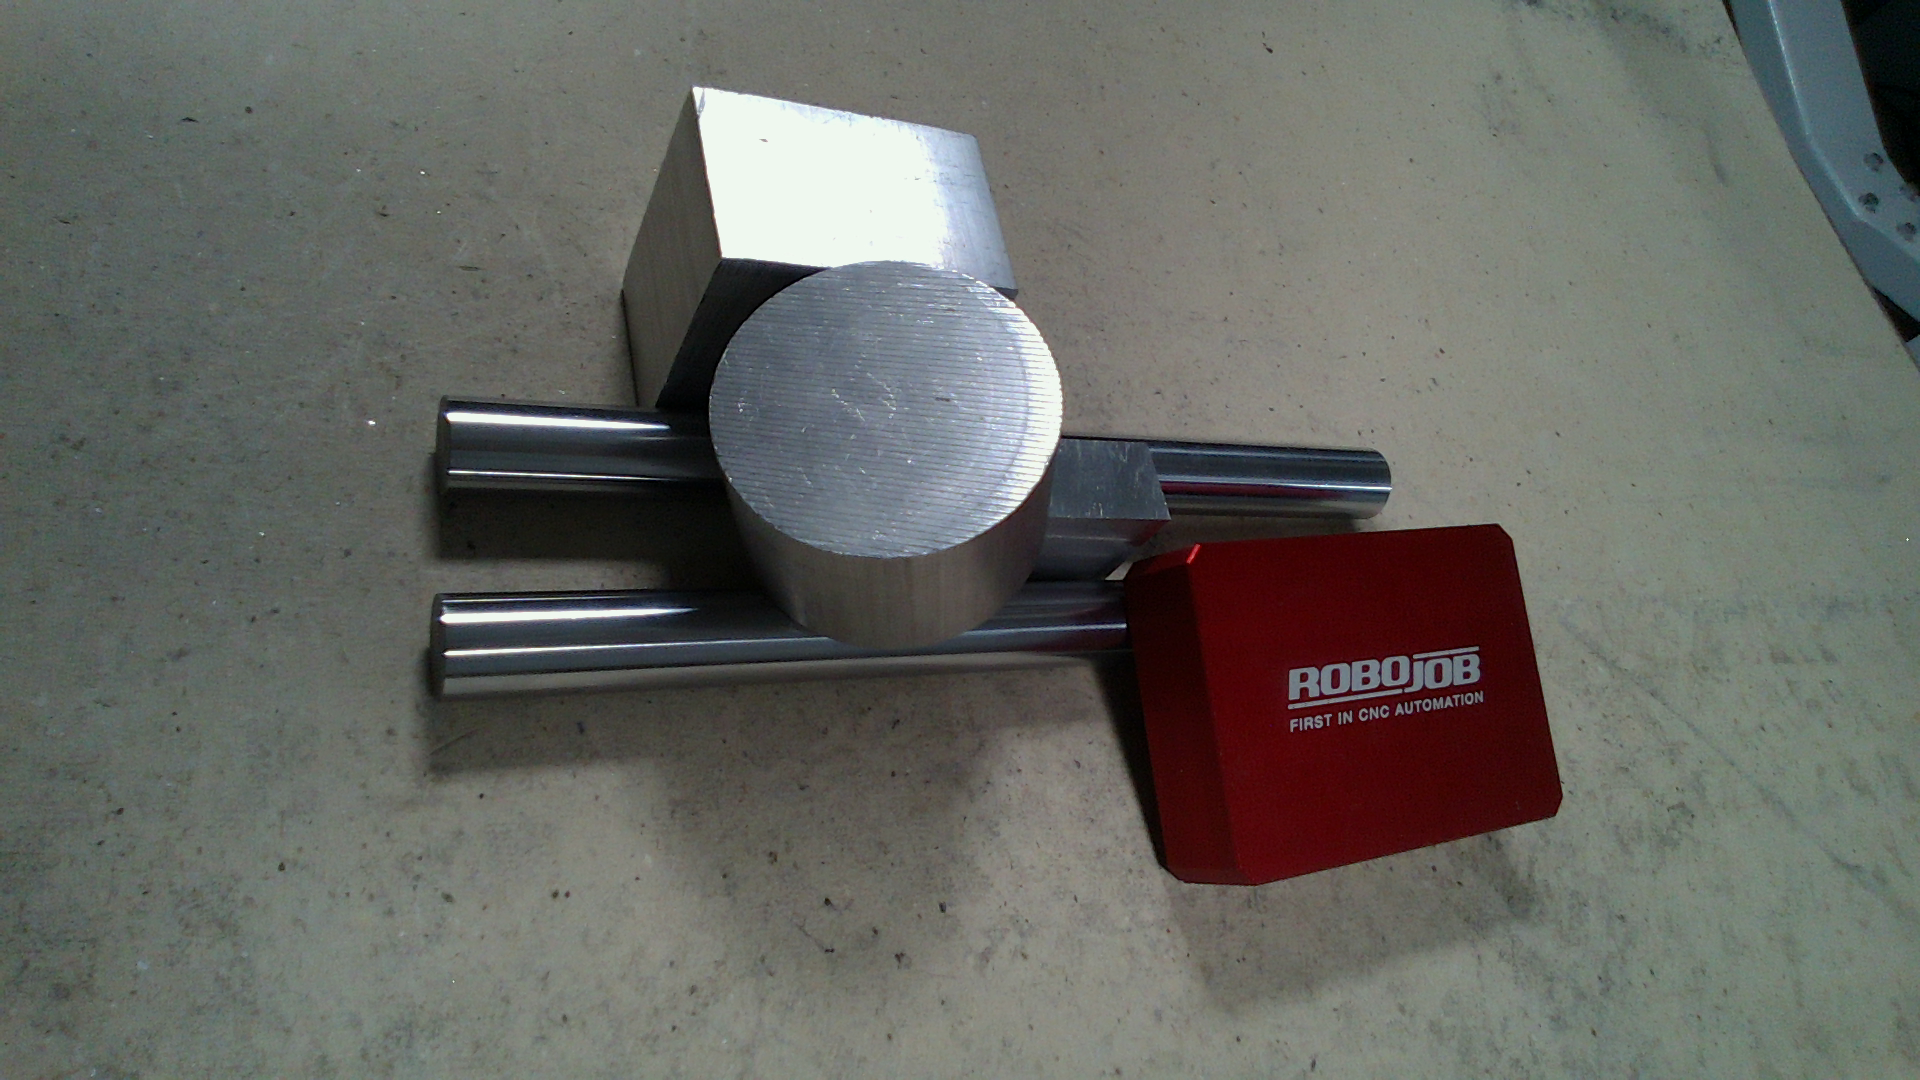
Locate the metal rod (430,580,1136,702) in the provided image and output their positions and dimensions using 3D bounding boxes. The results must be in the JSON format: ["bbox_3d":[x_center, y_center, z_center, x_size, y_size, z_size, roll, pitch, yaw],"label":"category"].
[{"bbox_3d":[0.014,0.024,0.383,0.301,0.025,0.025,0,62,-28],"label":"metal rod"}]

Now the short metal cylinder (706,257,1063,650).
[{"bbox_3d":[-0.017,-0.020,0.331,0.080,0.050,0.080,0,62,-1],"label":"short metal cylinder"}]

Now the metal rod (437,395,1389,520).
[{"bbox_3d":[0.007,-0.021,0.407,0.301,0.025,0.025,1,61,-28],"label":"metal rod"}]

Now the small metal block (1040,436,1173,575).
[{"bbox_3d":[0.023,-0.005,0.389,0.050,0.050,0.025,1,61,-28],"label":"small metal block"}]

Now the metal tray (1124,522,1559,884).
[{"bbox_3d":[0.114,0.044,0.403,0.130,0.030,0.090,-3,81,-31],"label":"metal tray"}]

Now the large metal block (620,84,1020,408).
[{"bbox_3d":[-0.042,-0.070,0.376,0.080,0.080,0.050,1,61,-28],"label":"large metal block"}]
